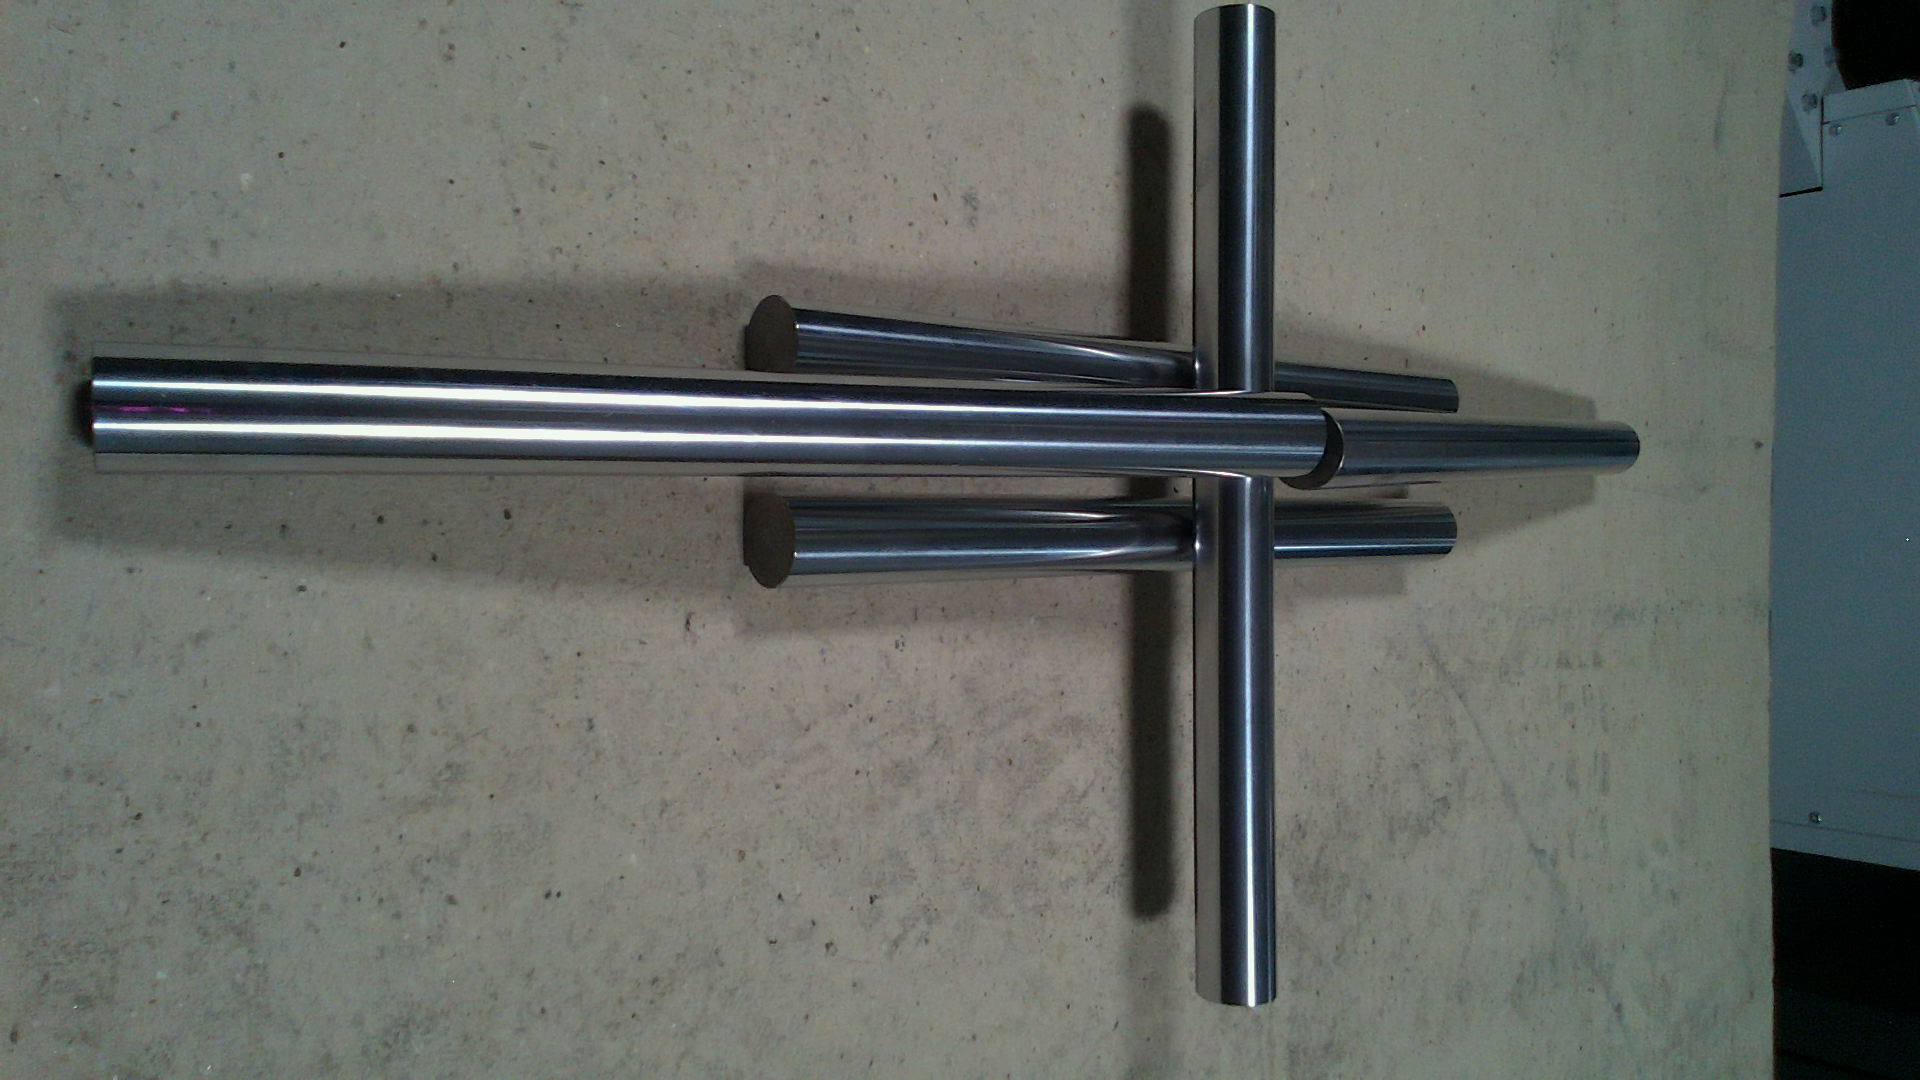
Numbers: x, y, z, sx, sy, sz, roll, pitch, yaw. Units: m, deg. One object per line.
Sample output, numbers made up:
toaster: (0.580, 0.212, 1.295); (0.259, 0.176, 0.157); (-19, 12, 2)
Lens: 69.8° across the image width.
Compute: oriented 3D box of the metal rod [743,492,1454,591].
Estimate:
metal rod: (0.067, -0.002, 0.444); (0.301, 0.025, 0.025); (-1, 91, -40)

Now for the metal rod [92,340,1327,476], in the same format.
metal rod: (-0.030, -0.028, 0.331); (0.301, 0.025, 0.025); (-2, 91, -30)

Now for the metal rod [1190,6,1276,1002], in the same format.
metal rod: (0.085, -0.011, 0.427); (0.025, 0.025, 0.300); (-1, 90, -40)

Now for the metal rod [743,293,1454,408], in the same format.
metal rod: (0.067, -0.052, 0.444); (0.301, 0.025, 0.025); (-1, 91, -40)

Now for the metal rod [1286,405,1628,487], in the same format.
metal rod: (0.200, -0.036, 0.523); (0.301, 0.025, 0.025); (-5, 93, -50)
